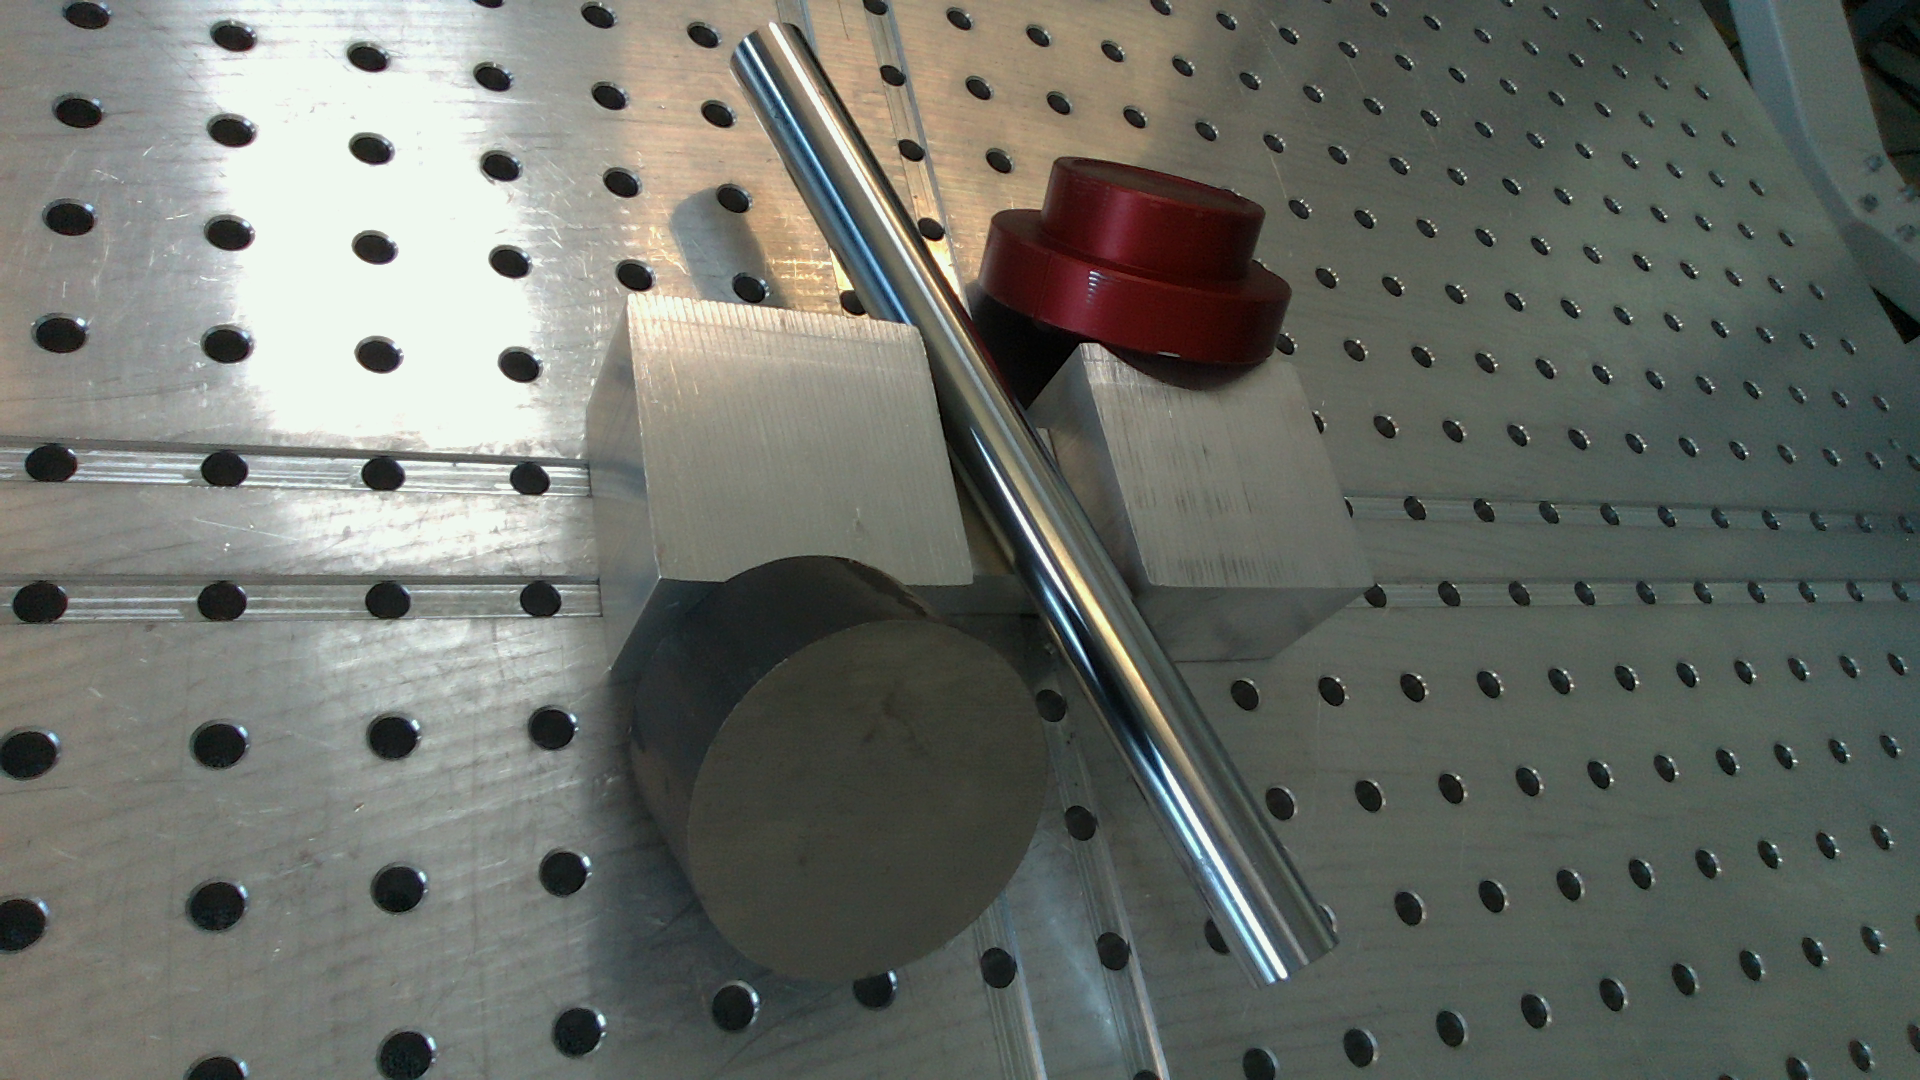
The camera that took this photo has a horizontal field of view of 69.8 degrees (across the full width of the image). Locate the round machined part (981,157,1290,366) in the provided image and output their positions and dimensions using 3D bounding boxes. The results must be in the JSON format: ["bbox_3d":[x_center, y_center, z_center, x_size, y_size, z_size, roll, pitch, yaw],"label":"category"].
[{"bbox_3d":[0.058,-0.092,0.438,0.098,0.042,0.098,12,23,-5],"label":"round machined part"}]

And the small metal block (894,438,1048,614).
[{"bbox_3d":[0.003,-0.006,0.399,0.050,0.025,0.050,1,61,-28],"label":"small metal block"}]

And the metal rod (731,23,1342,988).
[{"bbox_3d":[0.013,-0.022,0.379,0.025,0.025,0.300,-18,71,-35],"label":"metal rod"}]

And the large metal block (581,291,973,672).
[{"bbox_3d":[-0.050,-0.013,0.358,0.080,0.050,0.080,2,61,-27],"label":"large metal block"}]

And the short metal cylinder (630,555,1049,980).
[{"bbox_3d":[-0.027,0.048,0.305,0.080,0.050,0.080,-8,108,-25],"label":"short metal cylinder"}]

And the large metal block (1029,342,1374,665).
[{"bbox_3d":[0.067,-0.010,0.419,0.080,0.050,0.080,1,61,-28],"label":"large metal block"}]
